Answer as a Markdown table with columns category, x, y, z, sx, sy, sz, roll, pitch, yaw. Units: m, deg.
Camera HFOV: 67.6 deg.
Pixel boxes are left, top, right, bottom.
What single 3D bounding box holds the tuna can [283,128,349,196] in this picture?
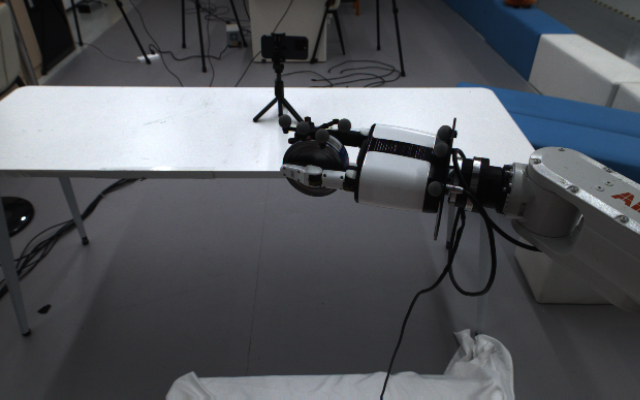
| category | x | y | z | sx | sy | sz | roll | pitch | yaw |
| --- | --- | --- | --- | --- | --- | --- | --- | --- | --- |
| tuna can | -0.004 | -0.050 | 0.654 | 0.085 | 0.085 | 0.034 | 10 | 34 | 12 |
